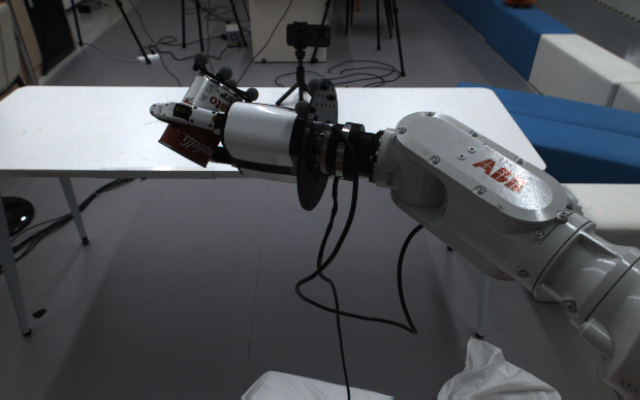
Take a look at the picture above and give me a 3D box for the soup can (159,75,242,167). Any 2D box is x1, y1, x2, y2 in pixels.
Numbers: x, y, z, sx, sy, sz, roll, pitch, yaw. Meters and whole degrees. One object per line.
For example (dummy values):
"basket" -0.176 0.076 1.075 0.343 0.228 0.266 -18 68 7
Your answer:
"soup can" -0.152 -0.101 0.620 0.067 0.101 0.067 29 -2 1
